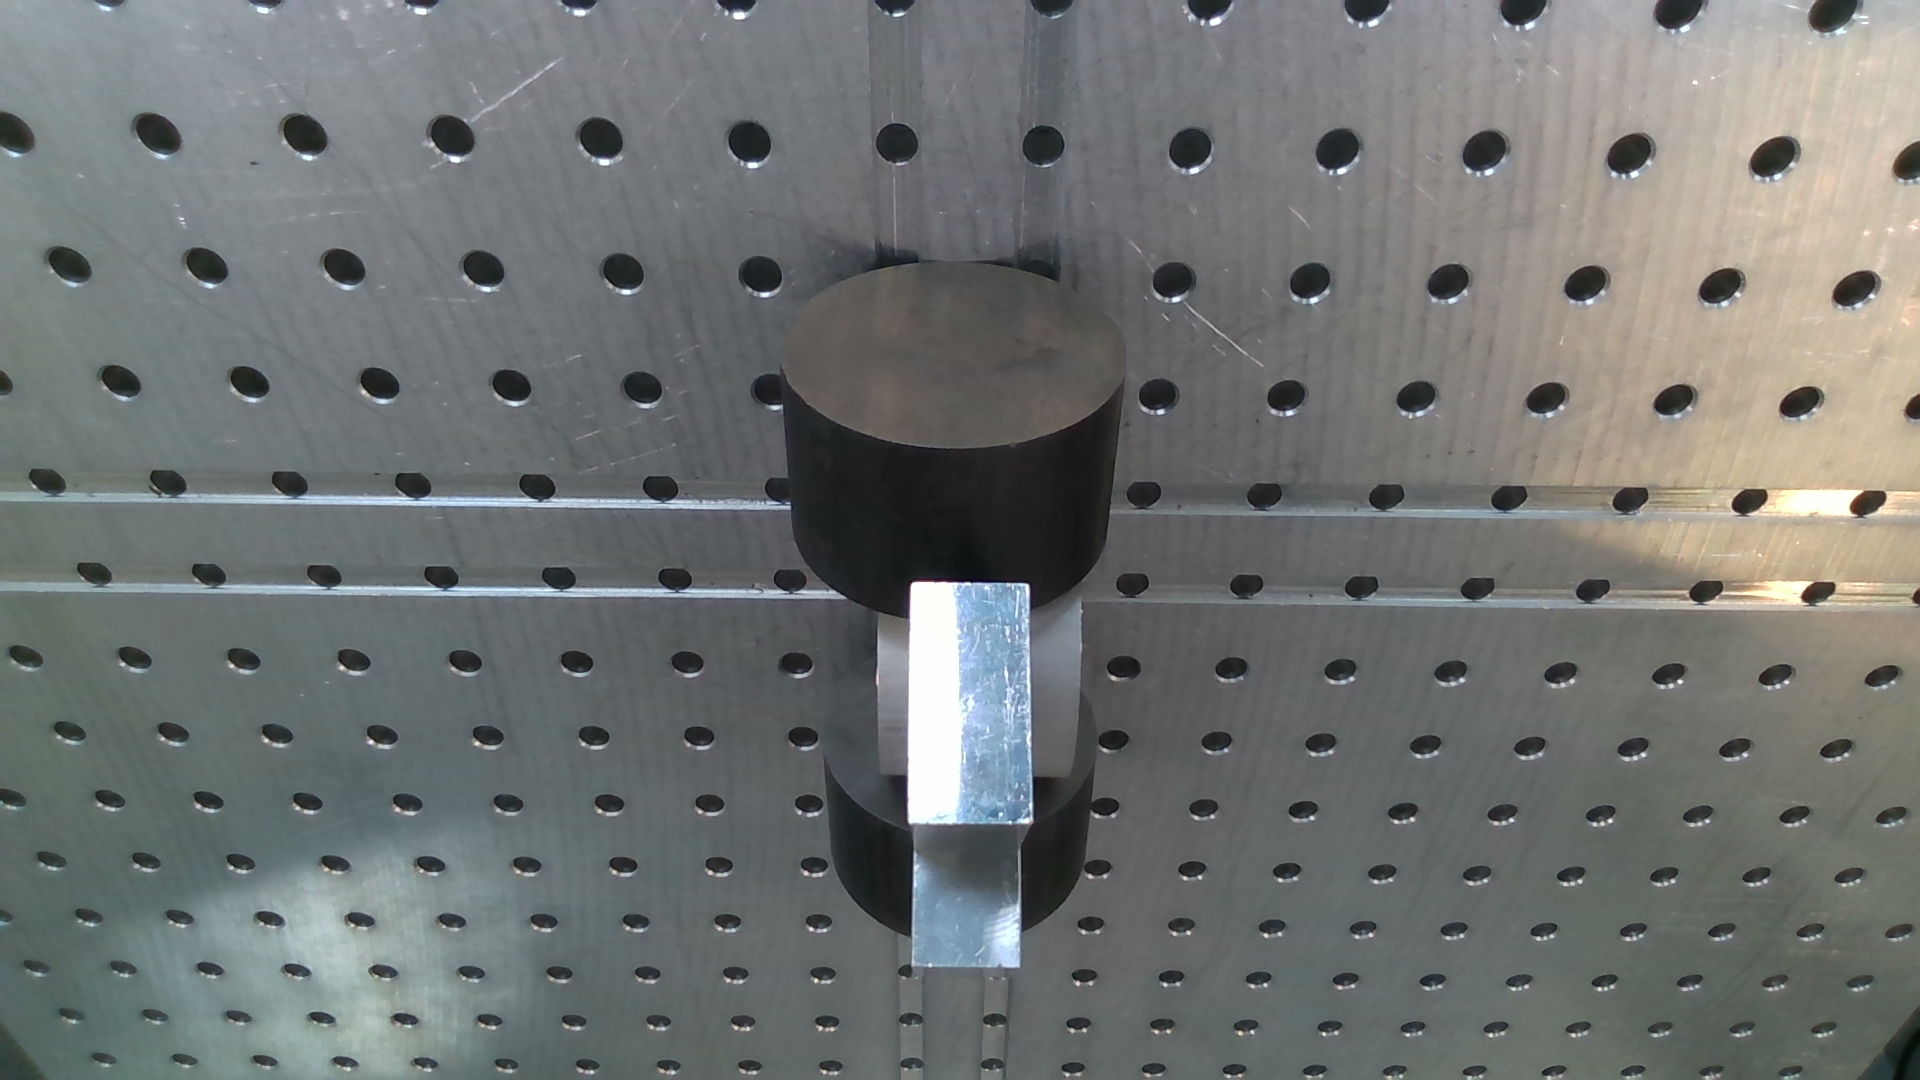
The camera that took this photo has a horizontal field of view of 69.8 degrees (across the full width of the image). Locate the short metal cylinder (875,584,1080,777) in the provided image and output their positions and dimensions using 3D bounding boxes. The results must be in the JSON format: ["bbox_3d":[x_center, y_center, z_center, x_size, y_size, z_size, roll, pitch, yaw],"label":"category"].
[{"bbox_3d":[0.004,0.024,0.376,0.050,0.080,0.080,1,130,-1],"label":"short metal cylinder"}]

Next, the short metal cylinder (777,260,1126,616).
[{"bbox_3d":[-0.002,-0.026,0.334,0.080,0.080,0.050,1,130,-1],"label":"short metal cylinder"}]

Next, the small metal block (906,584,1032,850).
[{"bbox_3d":[0.002,0.041,0.304,0.025,0.050,0.050,1,162,0],"label":"small metal block"}]

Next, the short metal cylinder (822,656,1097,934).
[{"bbox_3d":[-0.001,0.074,0.417,0.080,0.080,0.050,1,129,0],"label":"short metal cylinder"}]

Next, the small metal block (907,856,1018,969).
[{"bbox_3d":[0.000,0.081,0.344,0.025,0.050,0.050,1,161,0],"label":"small metal block"}]
